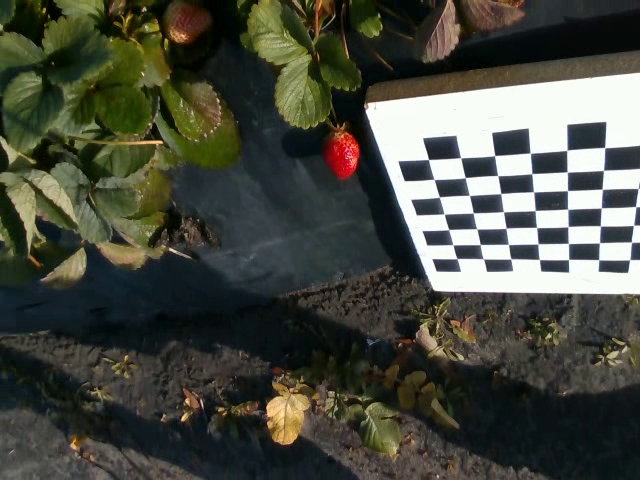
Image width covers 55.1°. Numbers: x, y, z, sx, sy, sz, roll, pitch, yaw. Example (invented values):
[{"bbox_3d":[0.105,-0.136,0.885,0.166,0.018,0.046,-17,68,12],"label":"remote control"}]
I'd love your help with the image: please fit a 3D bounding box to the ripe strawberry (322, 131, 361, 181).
[{"bbox_3d":[0.015,-0.058,0.422,0.035,0.037,0.033,-2,4,24],"label":"ripe strawberry"}]
